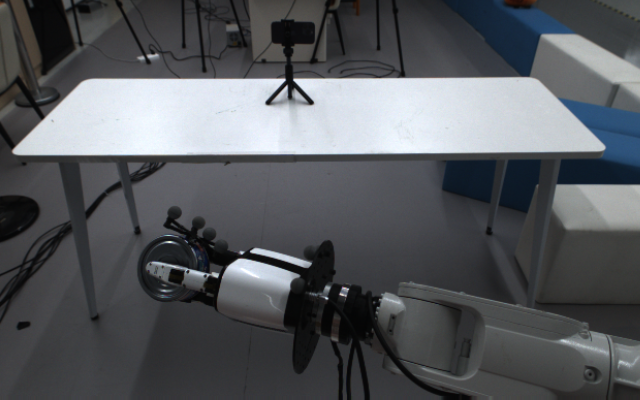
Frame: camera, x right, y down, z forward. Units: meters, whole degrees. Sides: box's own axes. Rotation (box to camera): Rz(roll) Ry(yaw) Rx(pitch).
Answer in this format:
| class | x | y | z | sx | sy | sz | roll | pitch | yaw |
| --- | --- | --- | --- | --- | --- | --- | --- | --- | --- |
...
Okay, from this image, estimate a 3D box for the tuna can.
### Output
| class | x | y | z | sx | sy | sz | roll | pitch | yaw |
| --- | --- | --- | --- | --- | --- | --- | --- | --- | --- |
| tuna can | -0.185 | 0.087 | 0.615 | 0.085 | 0.085 | 0.034 | 12 | -4 | 15 |
